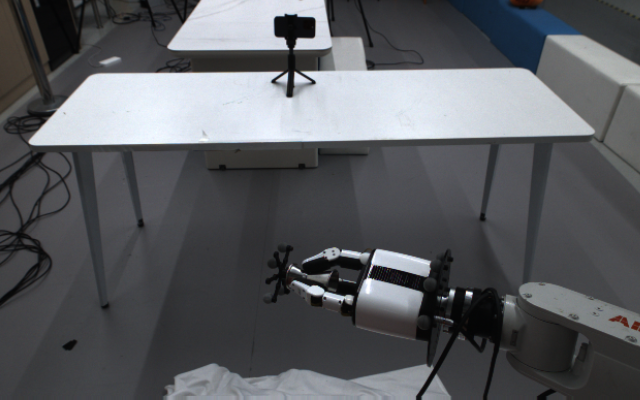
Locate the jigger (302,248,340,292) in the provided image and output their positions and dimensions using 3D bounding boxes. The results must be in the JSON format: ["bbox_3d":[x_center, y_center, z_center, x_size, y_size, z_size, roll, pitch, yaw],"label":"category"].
[{"bbox_3d":[-0.006,0.115,0.712,0.071,0.043,0.043,8,34,23],"label":"jigger"}]
